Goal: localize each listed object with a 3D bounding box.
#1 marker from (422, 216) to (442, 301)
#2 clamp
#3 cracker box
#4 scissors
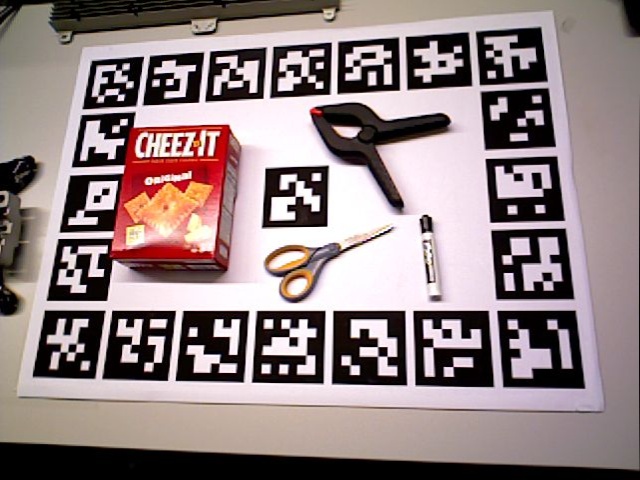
[{"bbox_3d":[0.154,0.024,0.752,0.019,0.020,0.120,-4,71,8],"label":"marker"},{"bbox_3d":[0.072,-0.155,0.831,0.203,0.037,0.164,29,78,17],"label":"clamp"},{"bbox_3d":[-0.215,-0.062,0.817,0.164,0.072,0.212,1,72,10],"label":"cracker box"},{"bbox_3d":[0.014,0.021,0.778,0.202,0.016,0.087,-27,68,-2],"label":"scissors"}]
